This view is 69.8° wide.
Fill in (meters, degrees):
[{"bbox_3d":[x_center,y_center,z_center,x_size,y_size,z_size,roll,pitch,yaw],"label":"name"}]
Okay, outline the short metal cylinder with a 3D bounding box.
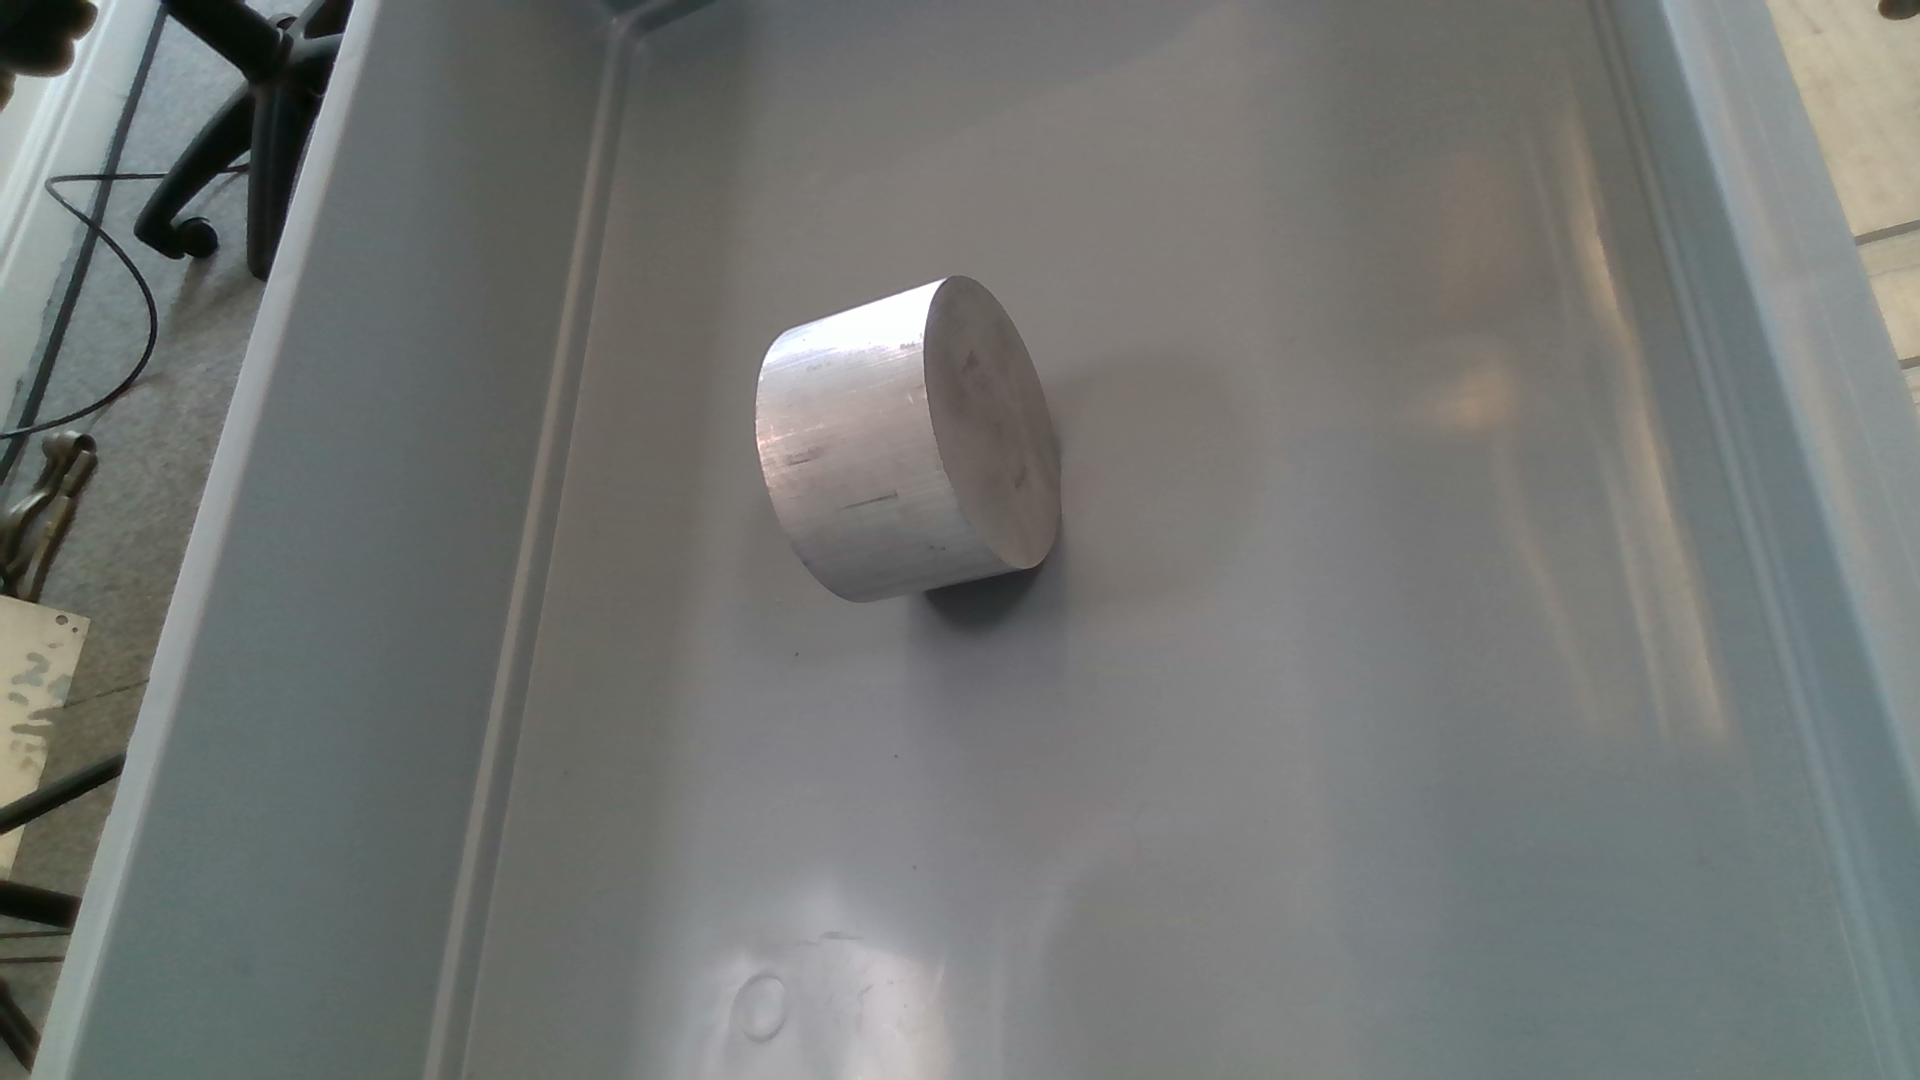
[{"bbox_3d":[-0.013,-0.027,0.376,0.050,0.080,0.080,-13,60,26],"label":"short metal cylinder"}]
